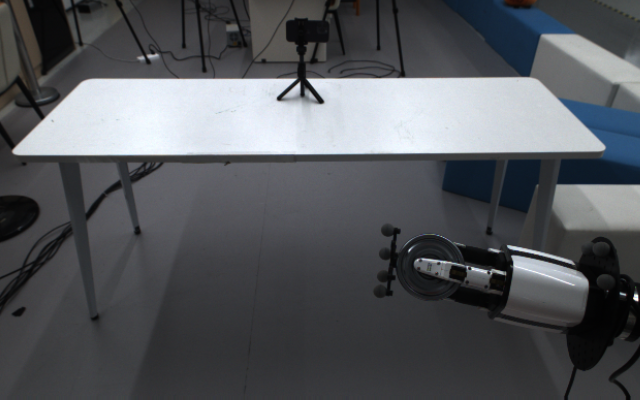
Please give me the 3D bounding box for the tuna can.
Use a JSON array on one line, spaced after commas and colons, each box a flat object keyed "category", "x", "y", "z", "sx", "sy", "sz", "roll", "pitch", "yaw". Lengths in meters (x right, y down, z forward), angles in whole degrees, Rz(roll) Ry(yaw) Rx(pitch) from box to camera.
[{"category": "tuna can", "x": 0.144, "y": 0.082, "z": 0.619, "sx": 0.085, "sy": 0.085, "sz": 0.034, "roll": 9, "pitch": -7, "yaw": 10}]
